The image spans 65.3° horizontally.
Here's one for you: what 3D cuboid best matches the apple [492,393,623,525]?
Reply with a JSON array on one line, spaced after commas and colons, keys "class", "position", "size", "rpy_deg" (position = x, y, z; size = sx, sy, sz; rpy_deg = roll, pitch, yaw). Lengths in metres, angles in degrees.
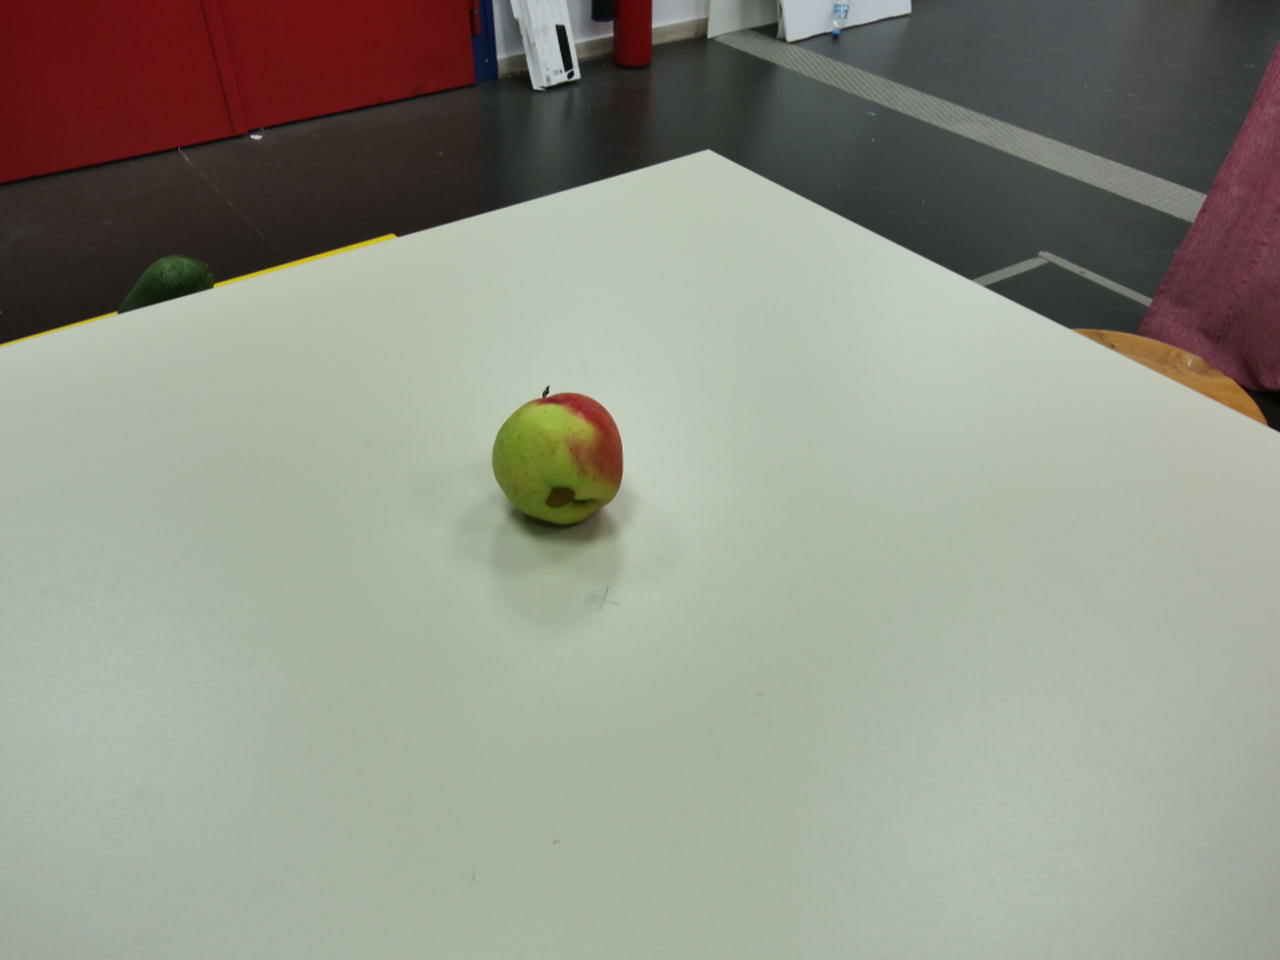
[{"class": "apple", "position": [-0.045, -0.013, 0.580], "size": [0.075, 0.074, 0.075], "rpy_deg": [23, 43, 26]}]
